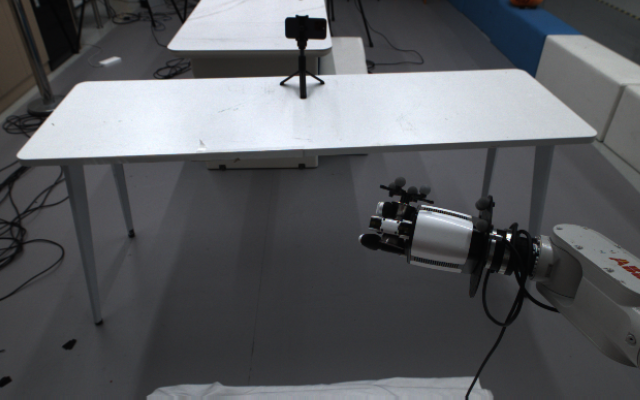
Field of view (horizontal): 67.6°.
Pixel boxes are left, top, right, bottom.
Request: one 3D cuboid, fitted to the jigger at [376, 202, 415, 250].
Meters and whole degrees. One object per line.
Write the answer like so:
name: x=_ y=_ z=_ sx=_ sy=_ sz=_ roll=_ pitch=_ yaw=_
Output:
jigger: x=0.124 y=0.038 z=0.766 sx=0.043 sy=0.071 sz=0.043 roll=19 pitch=-6 yaw=2
